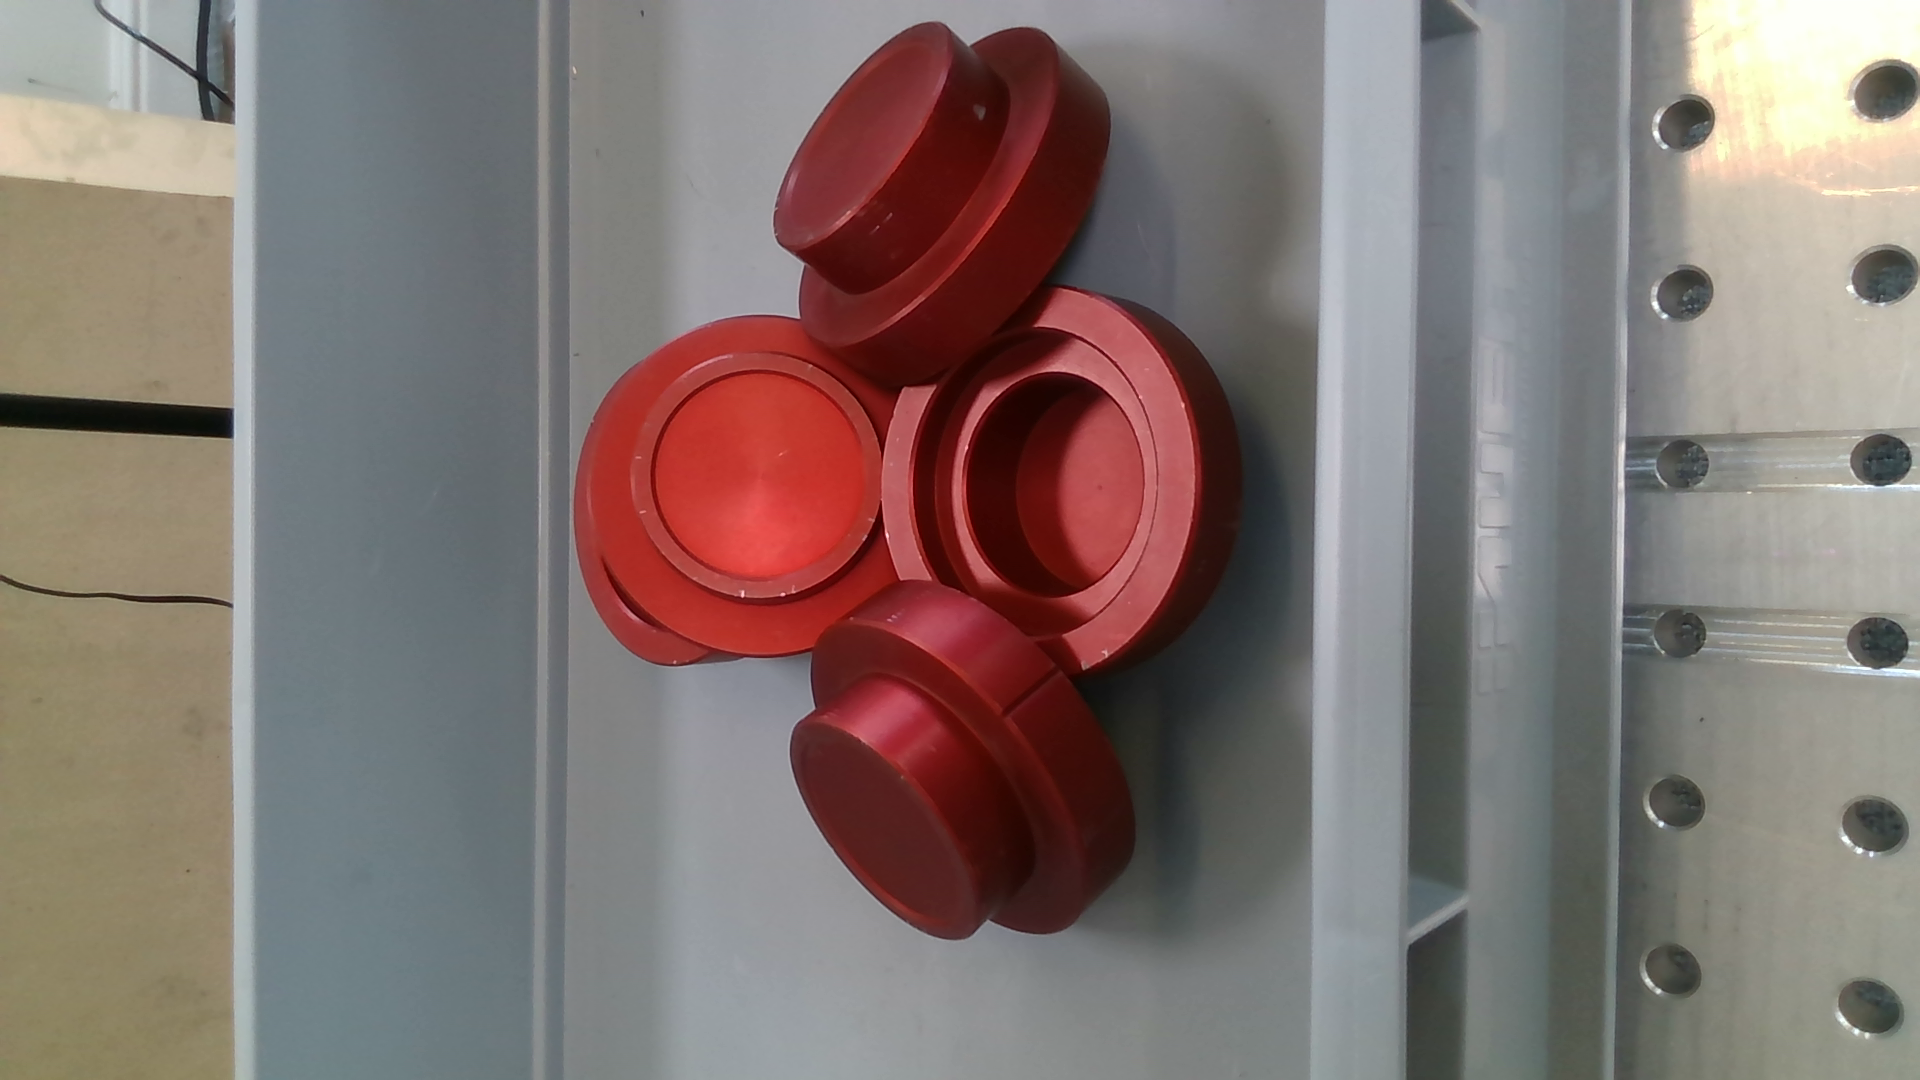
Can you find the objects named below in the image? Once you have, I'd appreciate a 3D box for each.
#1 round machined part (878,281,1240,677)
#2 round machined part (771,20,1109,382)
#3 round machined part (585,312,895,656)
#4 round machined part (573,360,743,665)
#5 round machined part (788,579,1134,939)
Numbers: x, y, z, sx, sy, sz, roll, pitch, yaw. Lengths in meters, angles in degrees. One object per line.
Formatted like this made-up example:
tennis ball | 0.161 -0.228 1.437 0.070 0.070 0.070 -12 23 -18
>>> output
round machined part | 0.028 -0.014 0.353 0.098 0.042 0.098 0 91 40
round machined part | -0.012 -0.094 0.359 0.098 0.042 0.098 -33 40 33
round machined part | -0.056 -0.016 0.388 0.042 0.098 0.098 141 124 -83
round machined part | -0.079 -0.010 0.444 0.098 0.042 0.098 0 91 40
round machined part | -0.006 0.062 0.355 0.098 0.042 0.098 33 142 30
